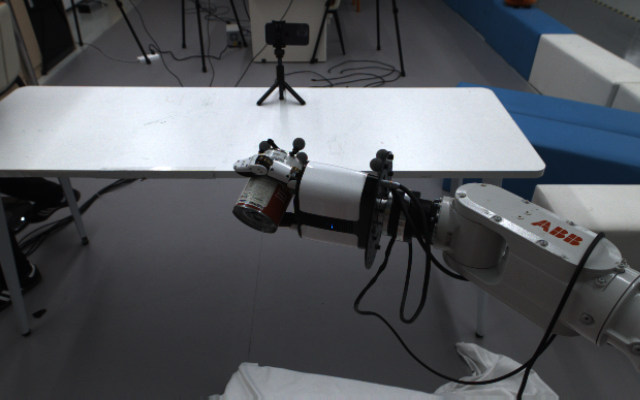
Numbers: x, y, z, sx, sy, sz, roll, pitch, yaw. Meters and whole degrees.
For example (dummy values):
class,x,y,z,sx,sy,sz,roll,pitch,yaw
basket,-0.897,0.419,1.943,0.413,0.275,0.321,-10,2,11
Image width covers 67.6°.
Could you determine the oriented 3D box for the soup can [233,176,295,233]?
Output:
class,x,y,z,sx,sy,sz,roll,pitch,yaw
soup can,-0.070,-0.013,0.680,0.067,0.067,0.101,15,63,18
